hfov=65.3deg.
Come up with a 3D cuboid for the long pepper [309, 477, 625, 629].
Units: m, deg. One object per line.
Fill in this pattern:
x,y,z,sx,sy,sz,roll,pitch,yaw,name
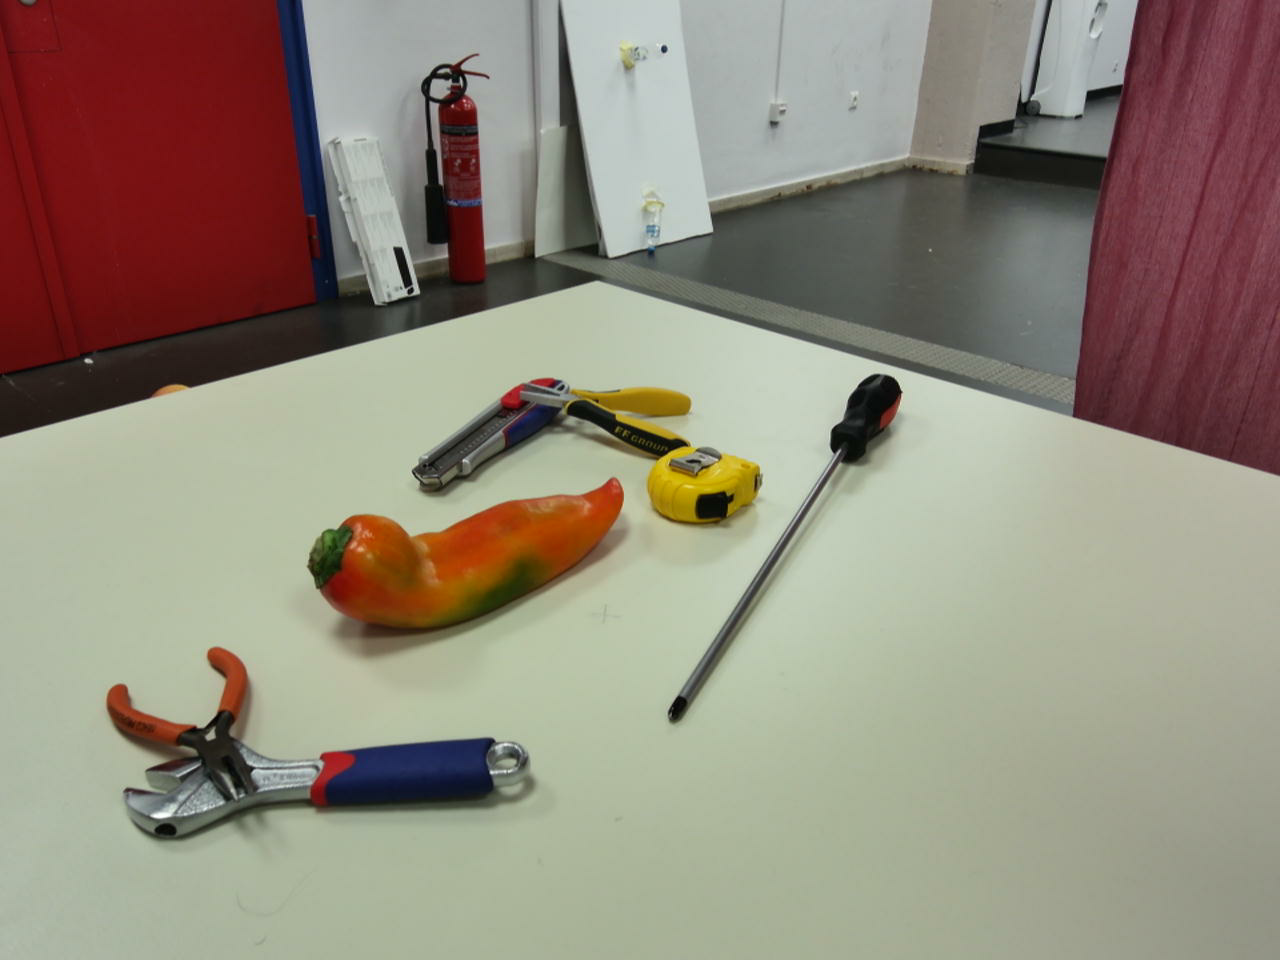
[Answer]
-0.081,0.027,0.539,0.199,0.065,0.066,-21,33,-38,long pepper
